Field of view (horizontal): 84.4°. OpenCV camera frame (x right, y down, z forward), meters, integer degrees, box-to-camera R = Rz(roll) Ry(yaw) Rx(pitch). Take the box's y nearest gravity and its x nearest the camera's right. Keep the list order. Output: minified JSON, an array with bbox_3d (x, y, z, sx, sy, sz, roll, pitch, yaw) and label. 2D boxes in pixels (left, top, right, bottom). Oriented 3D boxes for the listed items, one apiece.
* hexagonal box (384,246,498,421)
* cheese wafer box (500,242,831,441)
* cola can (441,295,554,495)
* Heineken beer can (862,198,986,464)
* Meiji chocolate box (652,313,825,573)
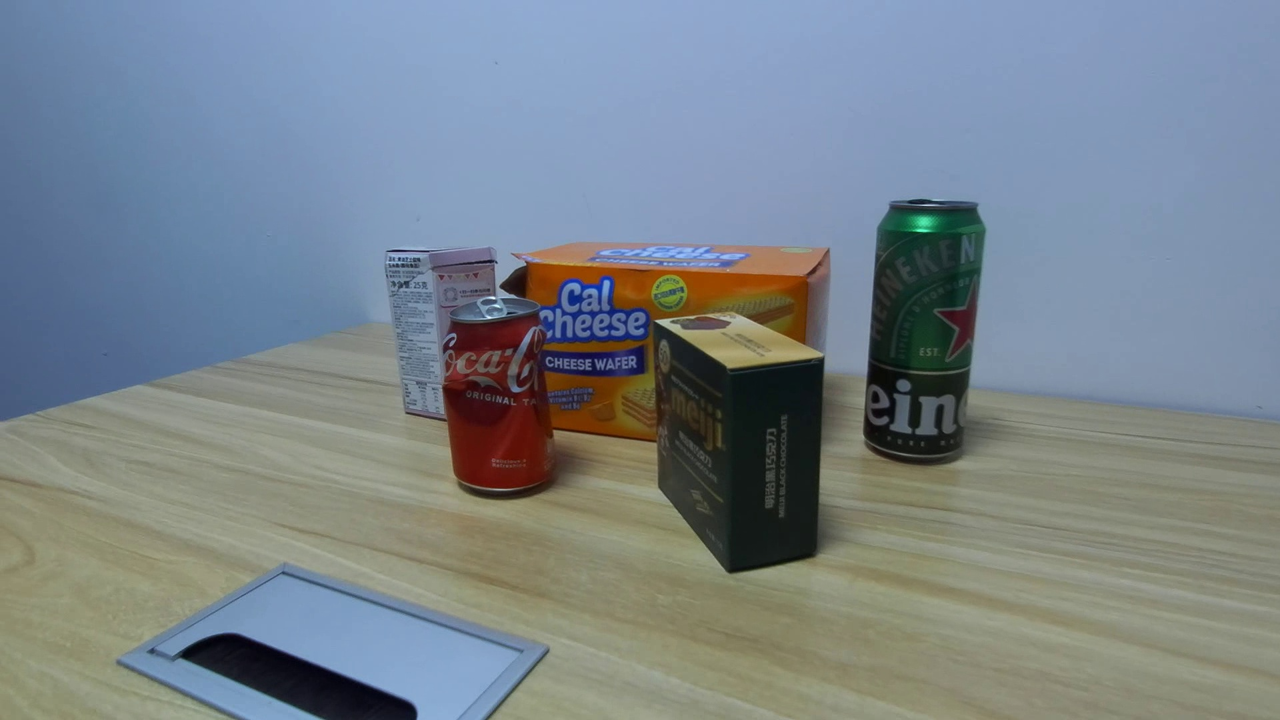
[{"bbox_3d":[-0.157,-0.027,0.586,0.092,0.135,0.084,-10,18,-28],"label":"hexagonal box"},{"bbox_3d":[0.029,-0.023,0.558,0.226,0.137,0.150,5,17,19],"label":"cheese wafer box"},{"bbox_3d":[-0.088,0.021,0.445,0.066,0.117,0.066,3,17,12],"label":"cola can"},{"bbox_3d":[0.189,-0.019,0.474,0.067,0.169,0.067,0,14,0],"label":"Heineken beer can"},{"bbox_3d":[0.051,0.039,0.390,0.056,0.109,0.109,-7,17,-16],"label":"Meiji chocolate box"}]
